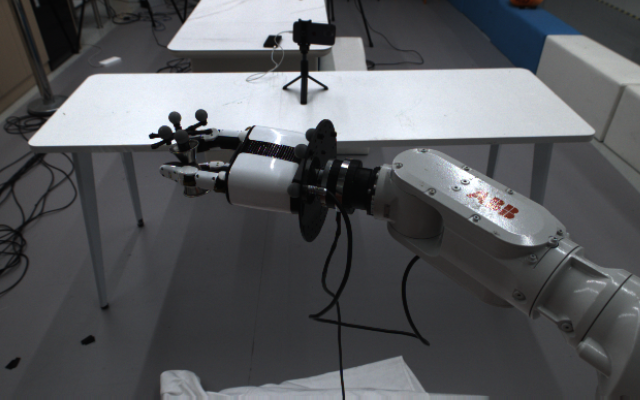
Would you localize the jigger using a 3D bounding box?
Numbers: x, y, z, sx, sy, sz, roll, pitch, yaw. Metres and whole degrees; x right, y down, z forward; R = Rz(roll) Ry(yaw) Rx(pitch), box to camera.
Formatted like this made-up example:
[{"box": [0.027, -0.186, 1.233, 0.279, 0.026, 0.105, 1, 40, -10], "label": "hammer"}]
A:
[{"box": [-0.174, -0.046, 0.668, 0.043, 0.071, 0.043, -8, 31, 5], "label": "jigger"}]
